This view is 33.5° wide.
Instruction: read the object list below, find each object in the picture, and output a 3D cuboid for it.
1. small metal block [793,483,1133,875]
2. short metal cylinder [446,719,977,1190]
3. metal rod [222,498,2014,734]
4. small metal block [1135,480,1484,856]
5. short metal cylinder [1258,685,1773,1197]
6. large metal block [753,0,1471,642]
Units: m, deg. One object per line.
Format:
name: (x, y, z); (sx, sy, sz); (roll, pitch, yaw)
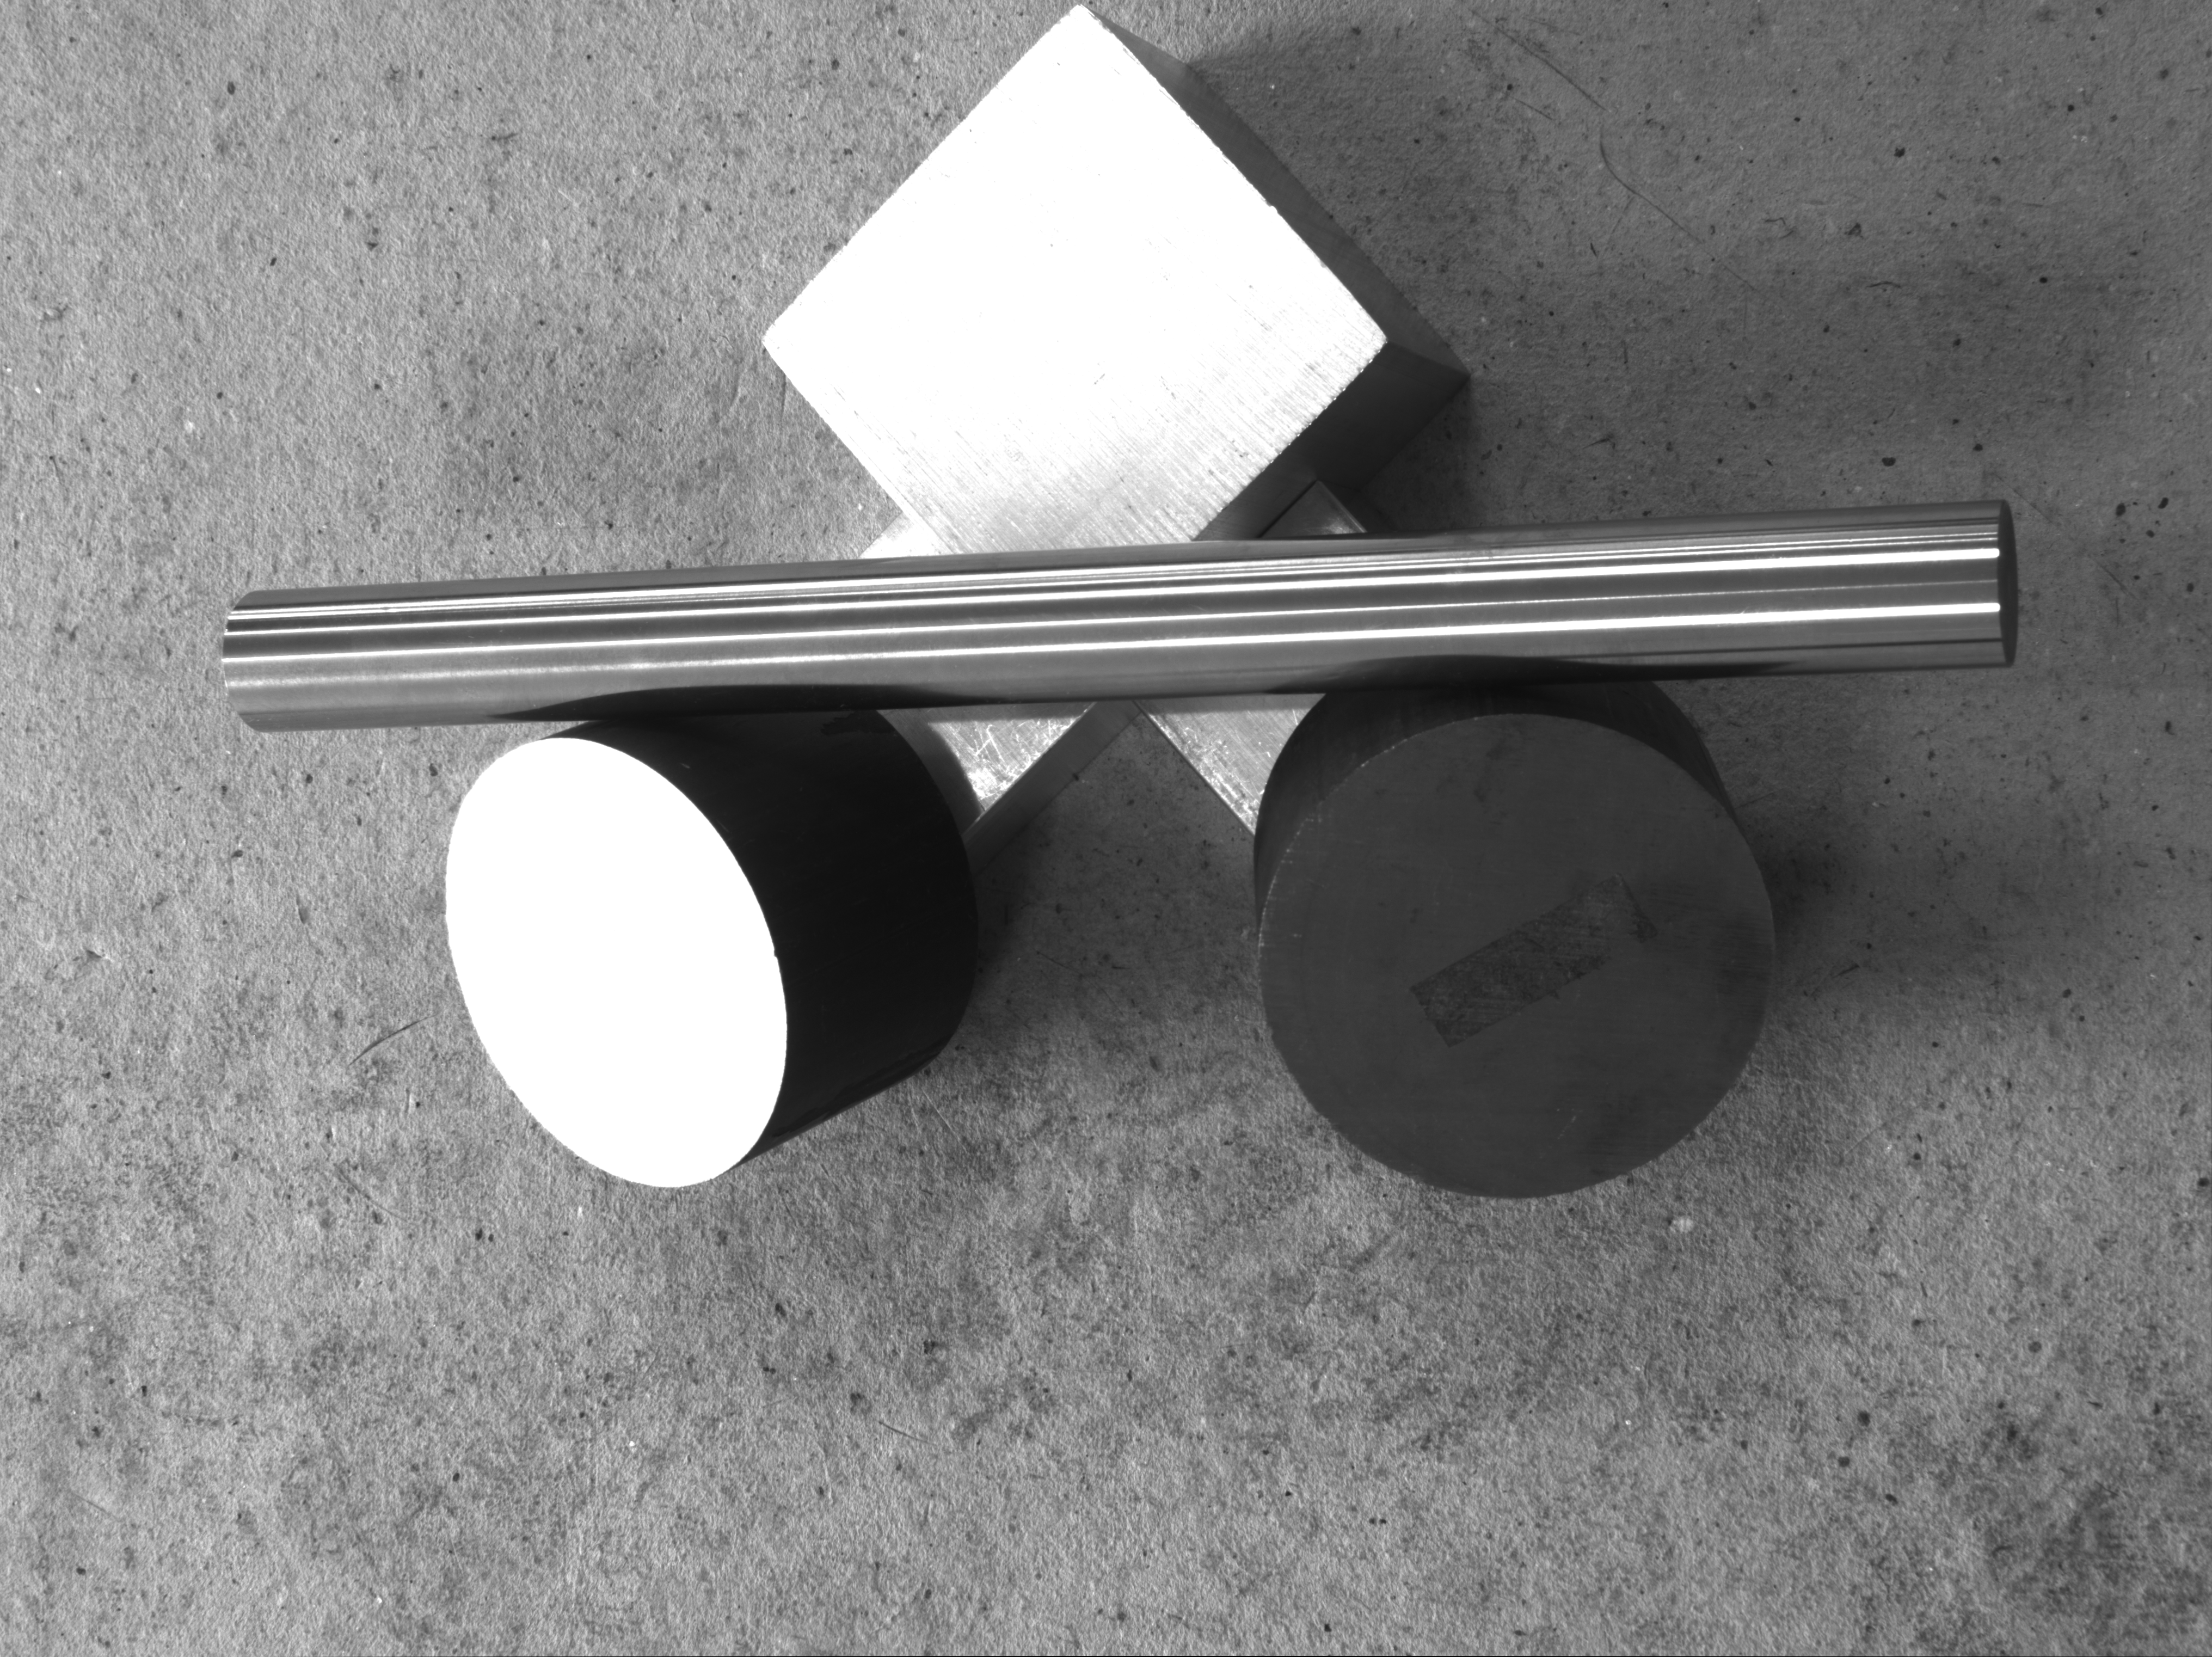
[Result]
small metal block: (-0.028, -0.025, 0.657); (0.050, 0.025, 0.050); (-45, 76, 13)
short metal cylinder: (-0.069, 0.017, 0.643); (0.080, 0.050, 0.080); (15, 115, 35)
metal rod: (-0.008, -0.033, 0.595); (0.299, 0.025, 0.025); (-1, 89, 20)
small metal block: (0.039, -0.023, 0.632); (0.050, 0.025, 0.050); (-45, 76, 14)
short metal cylinder: (0.064, 0.013, 0.595); (0.080, 0.050, 0.080); (0, 108, 2)
large metal block: (0.001, -0.082, 0.631); (0.080, 0.050, 0.080); (-44, 76, 15)
